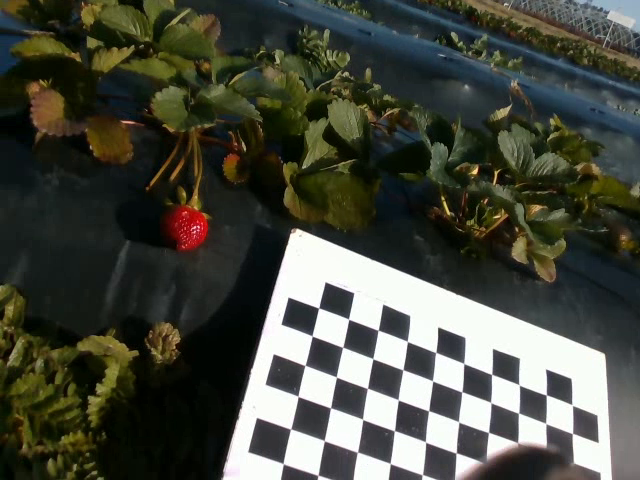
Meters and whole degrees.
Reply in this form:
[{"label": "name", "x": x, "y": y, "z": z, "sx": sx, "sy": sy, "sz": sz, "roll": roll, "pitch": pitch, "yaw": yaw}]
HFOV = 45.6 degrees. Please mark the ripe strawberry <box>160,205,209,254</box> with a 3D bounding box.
[{"label": "ripe strawberry", "x": -0.092, "y": -0.007, "z": 0.543, "sx": 0.040, "sy": 0.044, "sz": 0.037, "roll": 6, "pitch": -45, "yaw": -22}]
